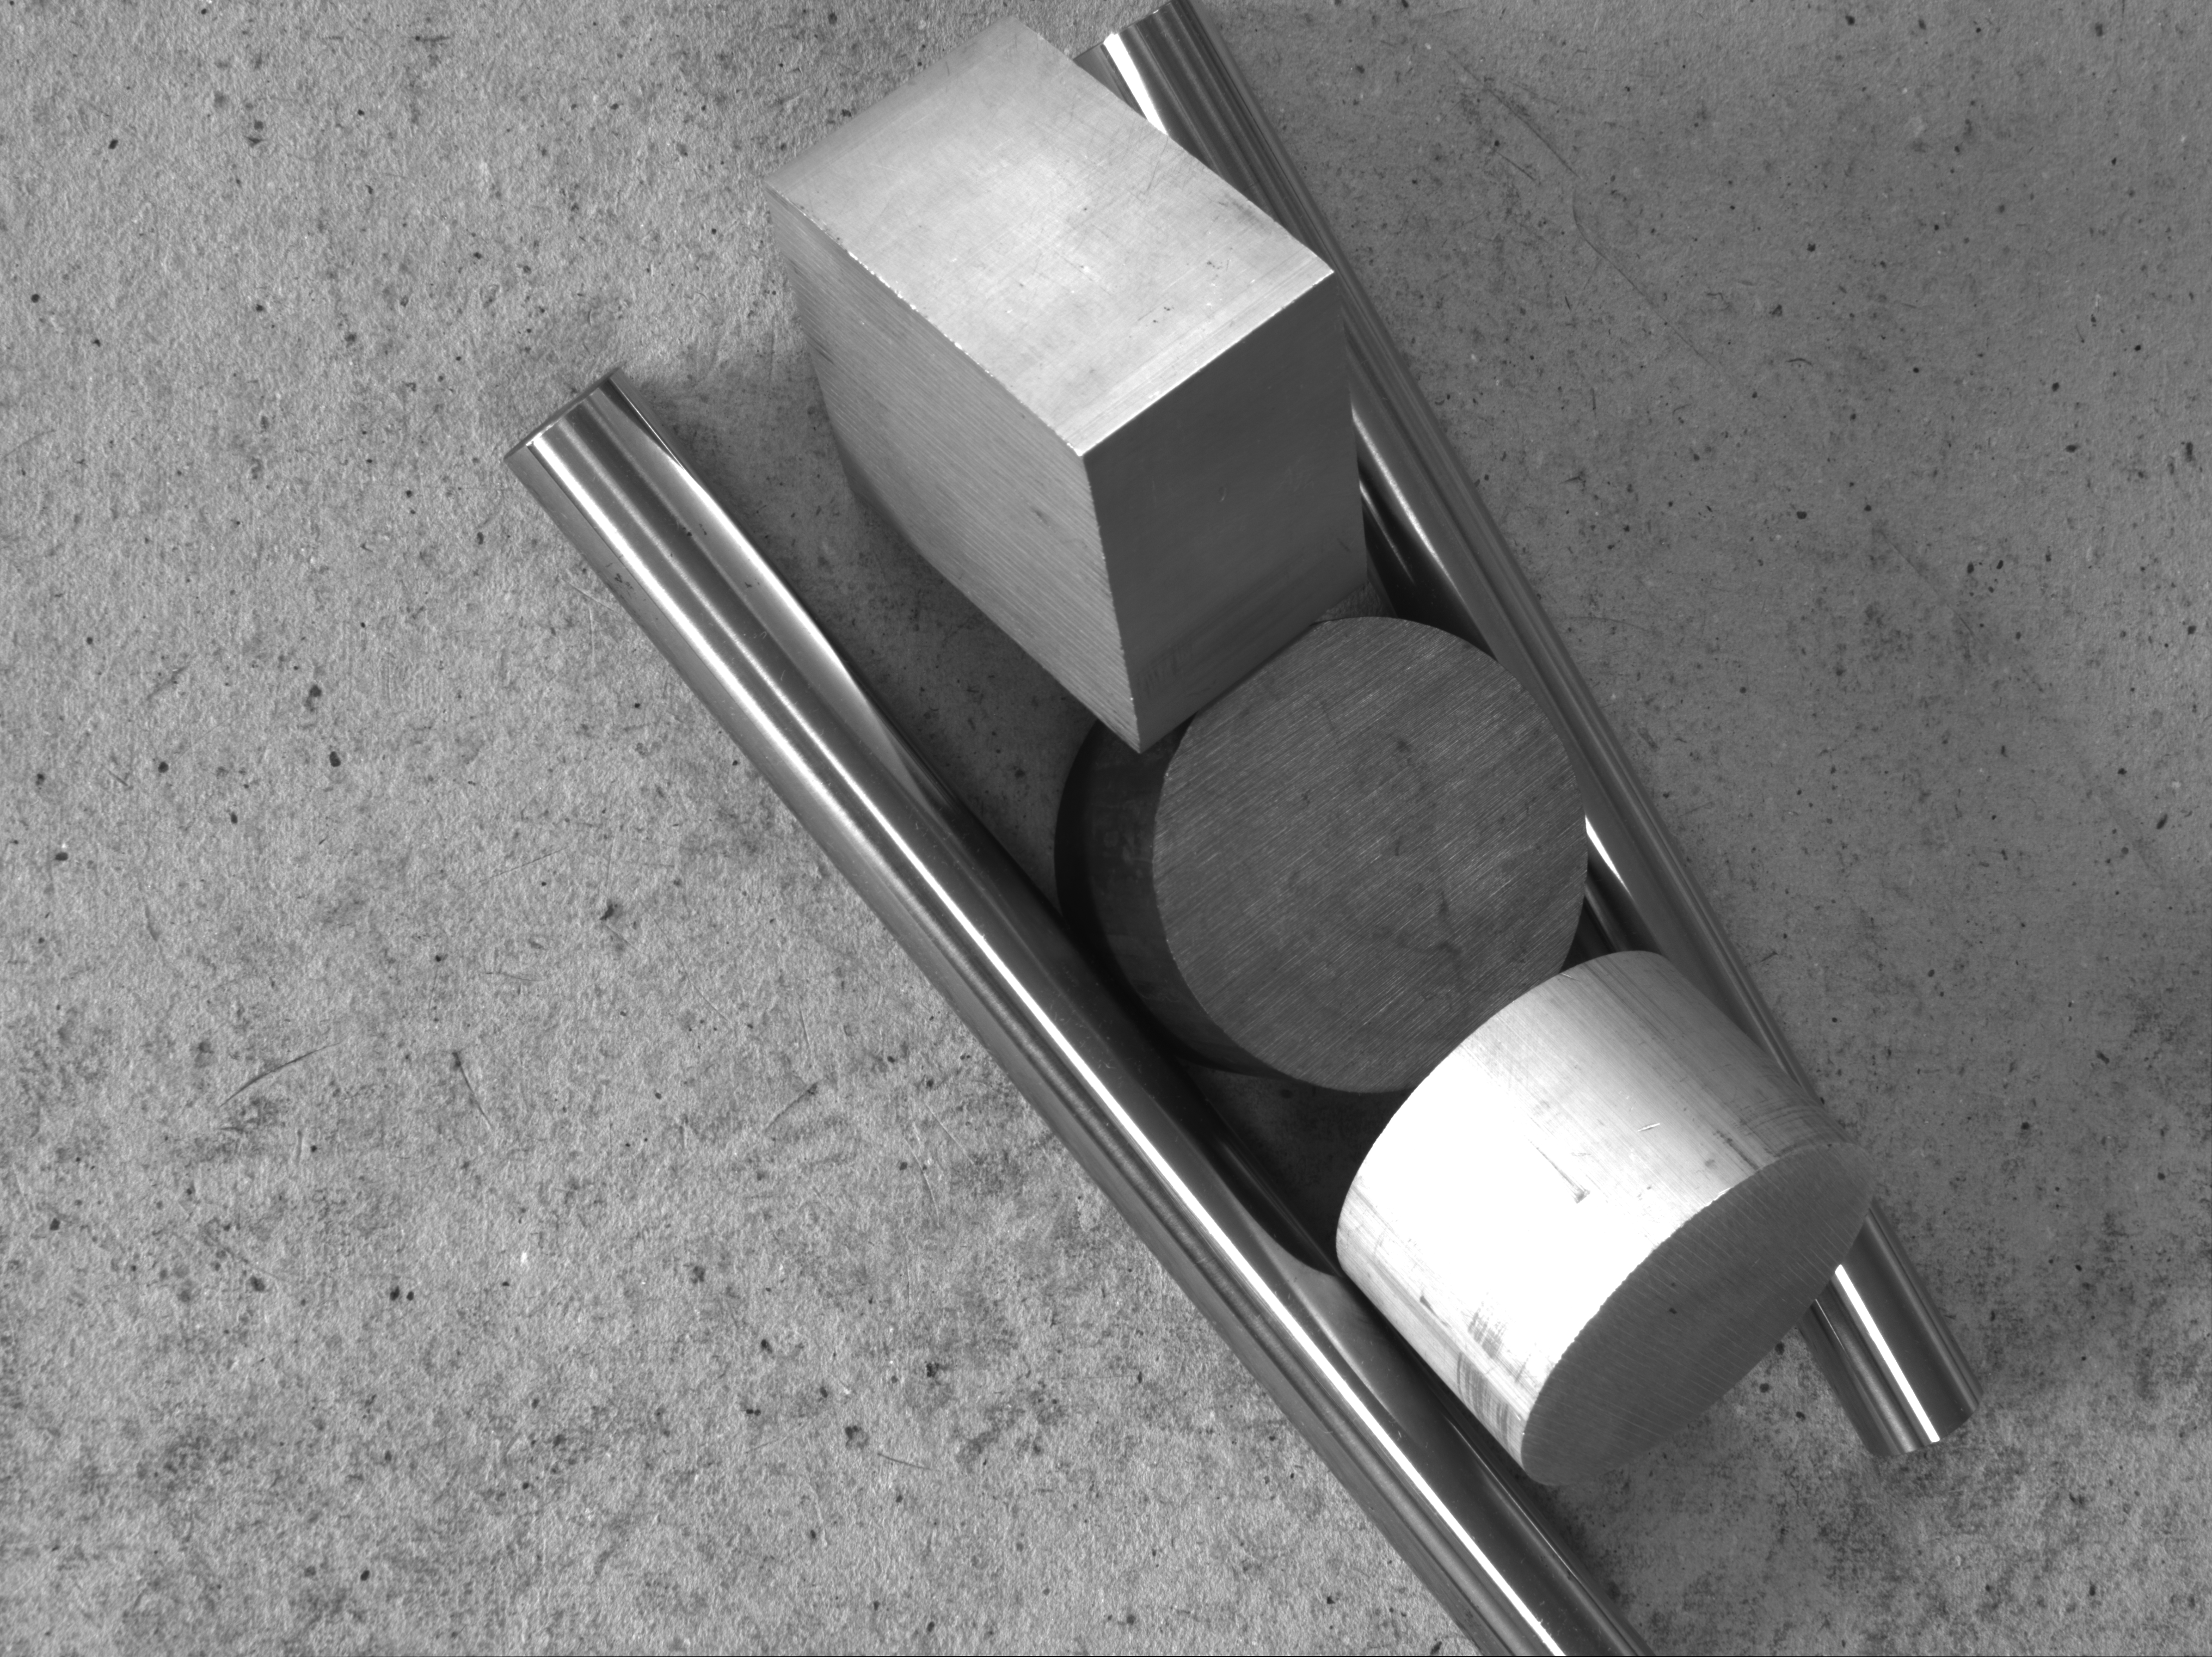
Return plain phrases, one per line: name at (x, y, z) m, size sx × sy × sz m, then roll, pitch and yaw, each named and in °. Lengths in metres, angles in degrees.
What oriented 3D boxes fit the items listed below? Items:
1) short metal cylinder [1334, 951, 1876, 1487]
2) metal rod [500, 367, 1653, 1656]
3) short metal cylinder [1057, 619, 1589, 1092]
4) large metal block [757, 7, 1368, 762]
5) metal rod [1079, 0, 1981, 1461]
short metal cylinder at (0.087, 0.068, 0.639) m, size 0.080 × 0.080 × 0.050 m, roll -33°, pitch 58°, yaw -17°
metal rod at (0.000, 0.046, 0.643) m, size 0.025 × 0.025 × 0.300 m, roll -42°, pitch 103°, yaw -15°
short metal cylinder at (0.037, 0.005, 0.644) m, size 0.080 × 0.050 × 0.080 m, roll 0°, pitch 90°, yaw -20°
large metal block at (-0.005, -0.071, 0.596) m, size 0.050 × 0.080 × 0.080 m, roll -38°, pitch 60°, yaw -16°
metal rod at (0.080, -0.014, 0.672) m, size 0.025 × 0.025 × 0.300 m, roll -34°, pitch 101°, yaw -17°
